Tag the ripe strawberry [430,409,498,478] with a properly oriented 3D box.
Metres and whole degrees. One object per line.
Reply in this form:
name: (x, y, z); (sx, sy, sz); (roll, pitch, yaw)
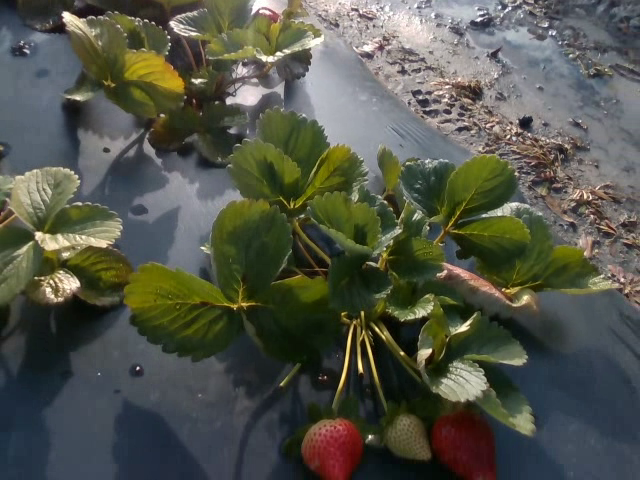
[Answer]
ripe strawberry: (0.102, 0.148, 0.416); (0.048, 0.065, 0.050); (-31, -32, 17)
